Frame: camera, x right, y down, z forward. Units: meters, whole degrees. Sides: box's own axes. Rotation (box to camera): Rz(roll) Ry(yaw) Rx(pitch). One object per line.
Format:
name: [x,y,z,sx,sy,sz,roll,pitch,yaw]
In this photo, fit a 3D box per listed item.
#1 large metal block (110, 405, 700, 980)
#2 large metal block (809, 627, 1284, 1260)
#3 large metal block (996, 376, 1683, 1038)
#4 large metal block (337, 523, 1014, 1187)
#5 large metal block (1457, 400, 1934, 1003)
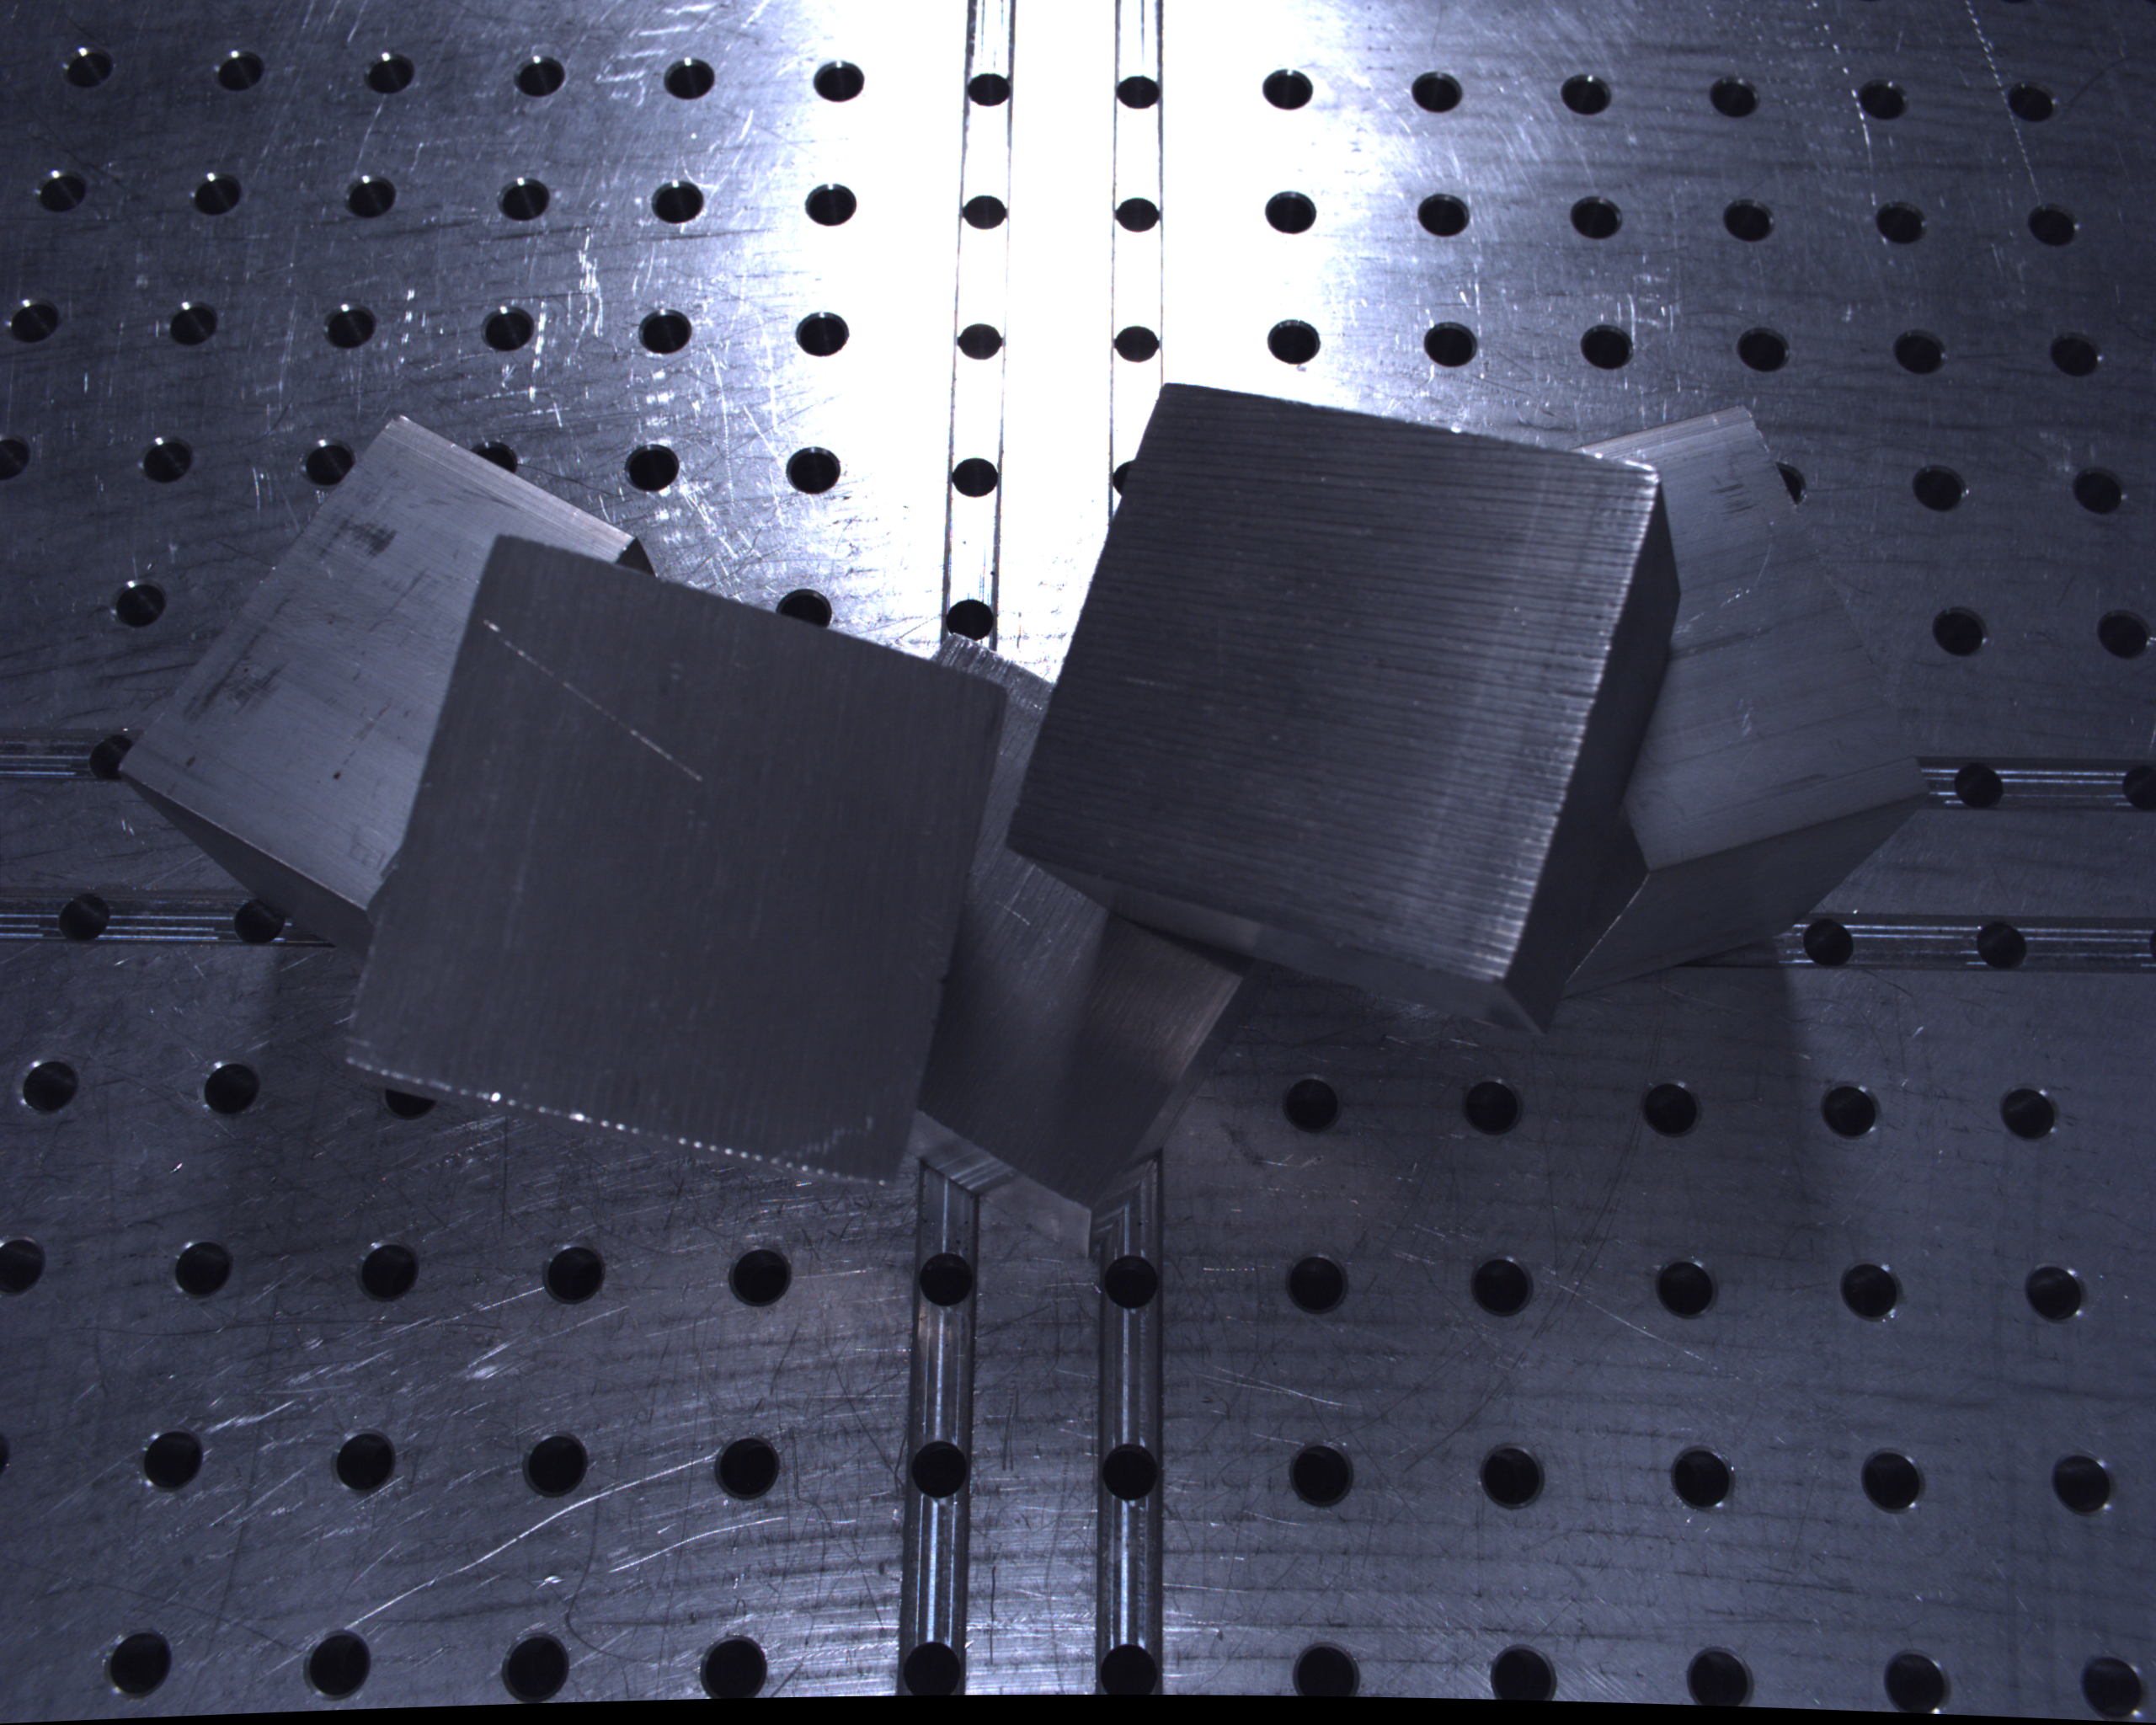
large metal block: [-0.118,-0.023,0.389,0.050,0.080,0.080,28,72,9]
large metal block: [-0.010,0.016,0.392,0.080,0.050,0.080,31,73,10]
large metal block: [0.044,-0.024,0.334,0.080,0.050,0.080,16,83,21]
large metal block: [-0.064,0.003,0.327,0.081,0.050,0.080,16,77,-17]
large metal block: [0.106,-0.027,0.393,0.050,0.080,0.080,-15,71,-6]
